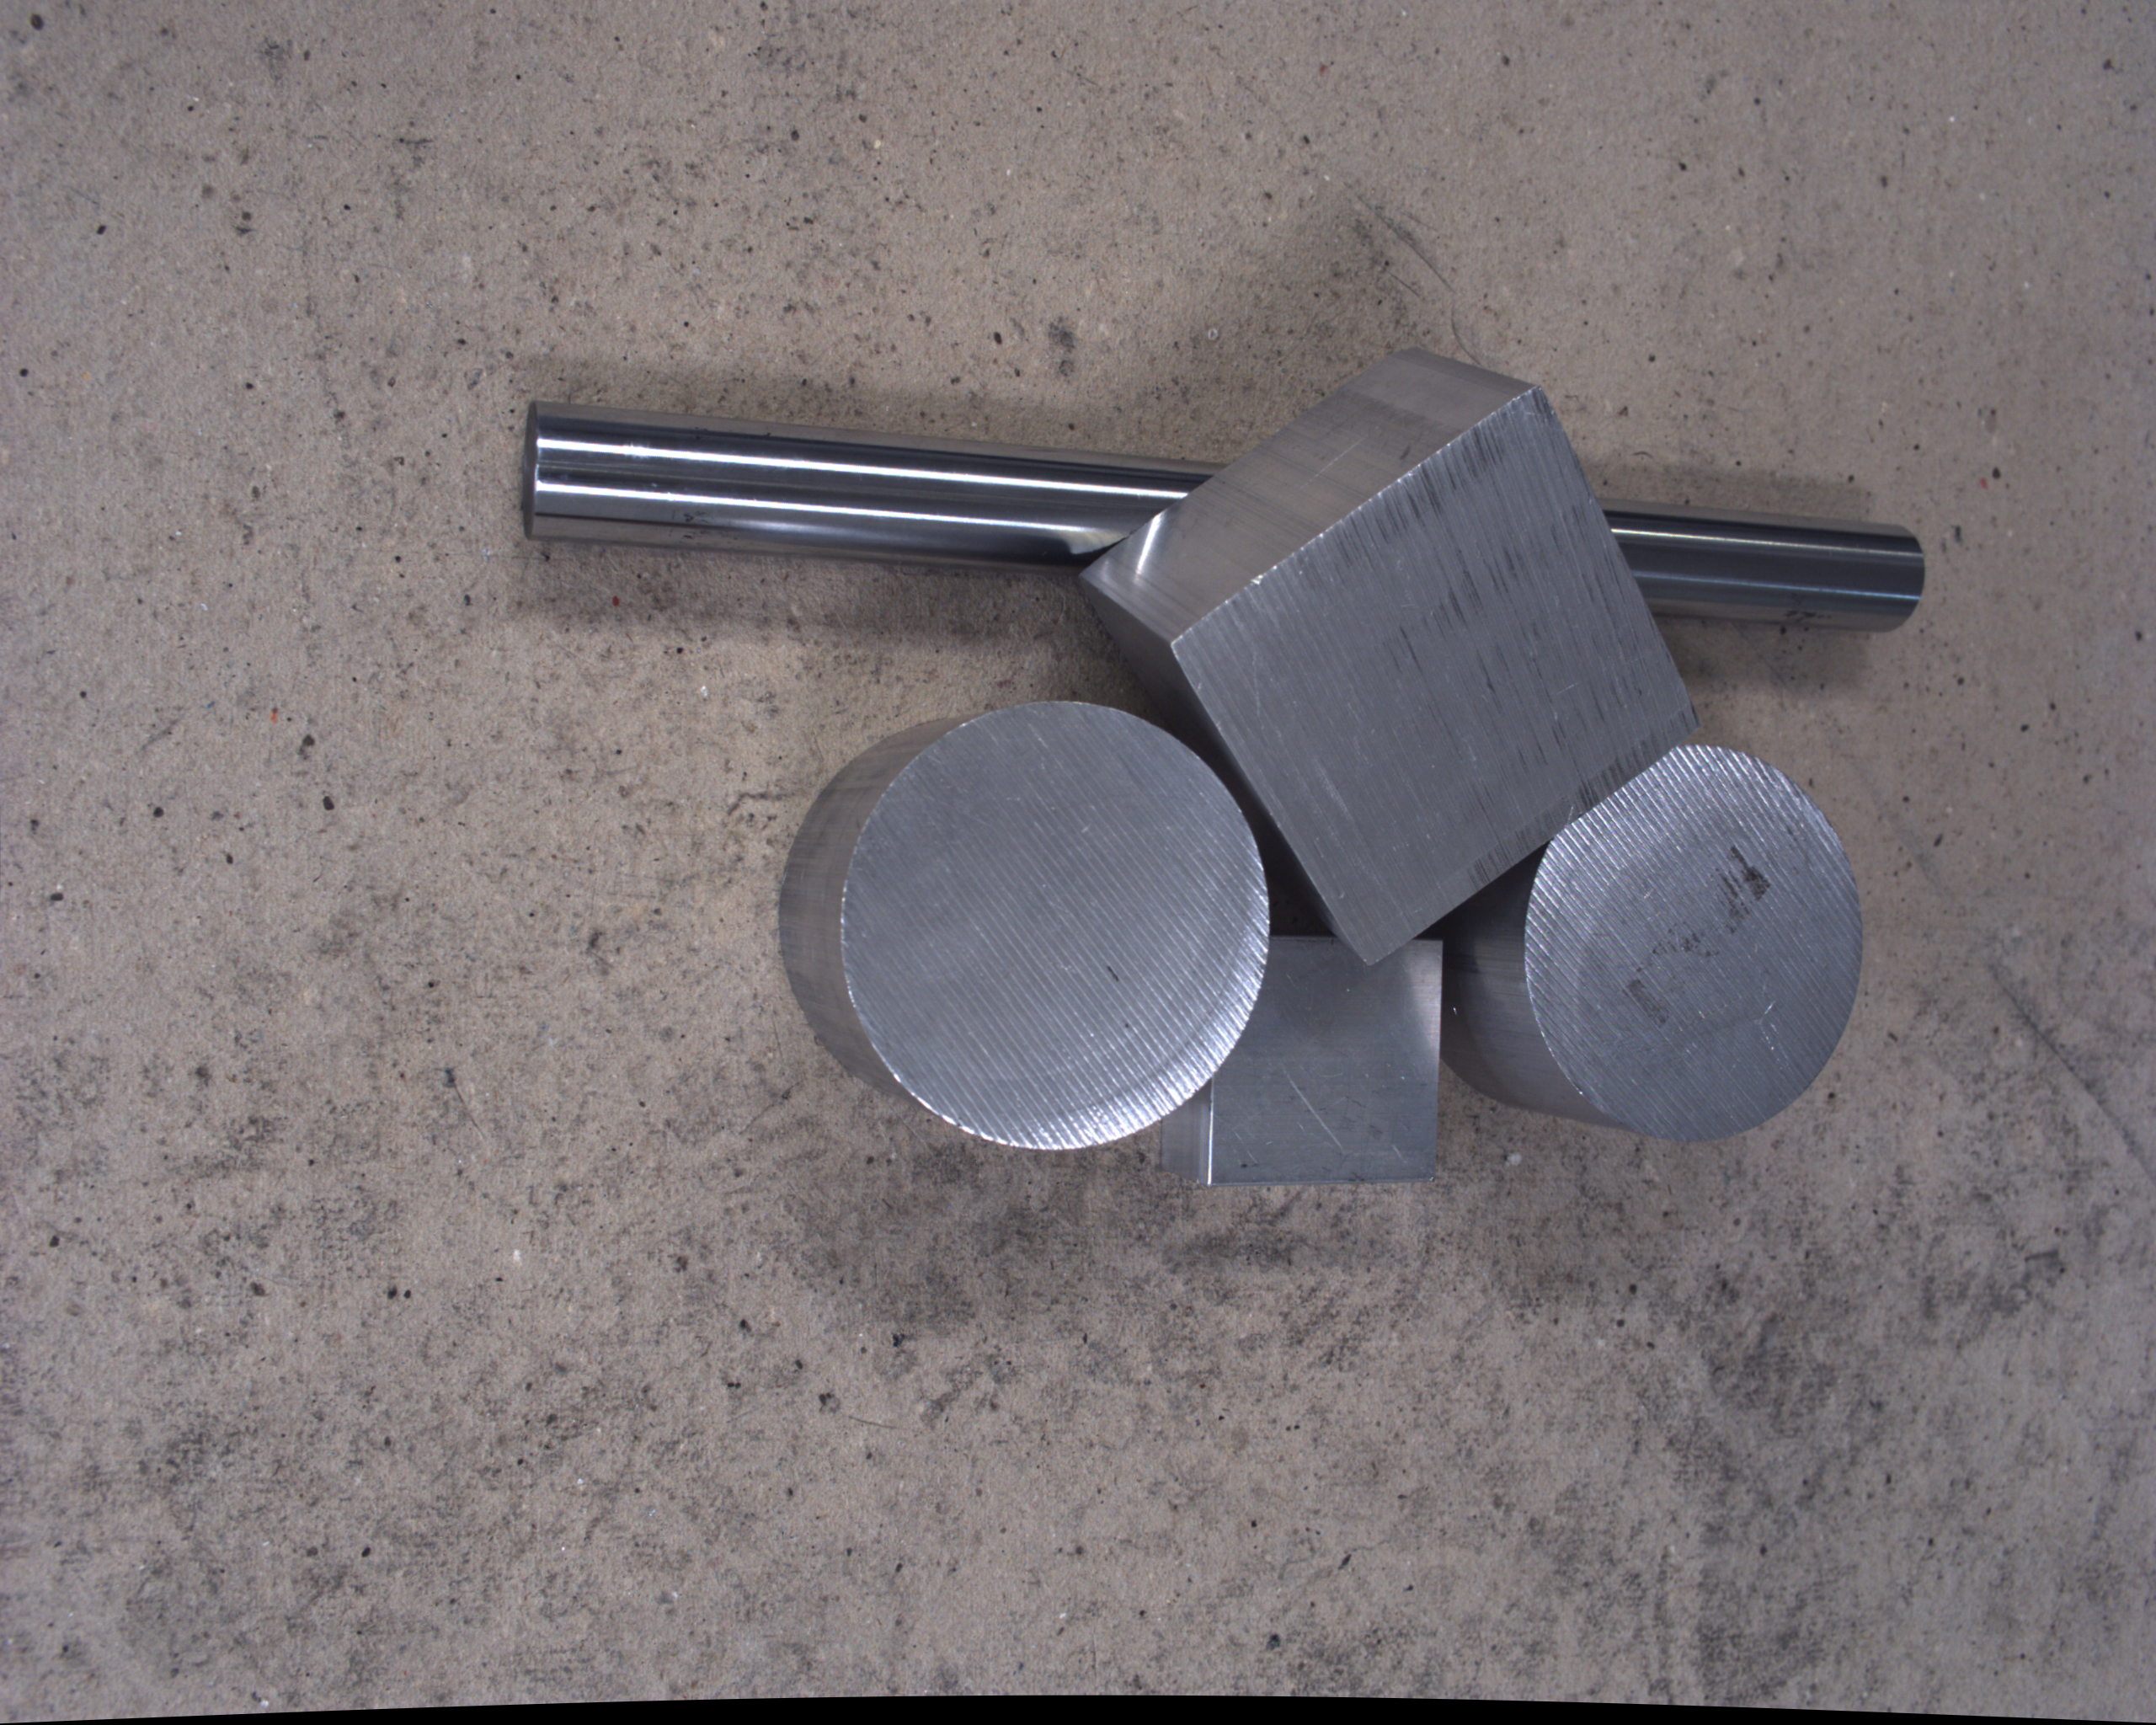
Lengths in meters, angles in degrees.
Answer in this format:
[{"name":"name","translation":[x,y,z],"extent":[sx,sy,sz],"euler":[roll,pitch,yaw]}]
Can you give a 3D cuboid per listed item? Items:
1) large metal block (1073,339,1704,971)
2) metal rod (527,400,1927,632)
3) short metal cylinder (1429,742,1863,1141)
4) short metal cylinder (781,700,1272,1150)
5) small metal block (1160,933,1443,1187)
[{"name":"large metal block","translation":[0.060,-0.041,0.400],"extent":[0.080,0.050,0.080],"euler":[-36,119,-3]},{"name":"metal rod","translation":[0.044,-0.068,0.426],"extent":[0.302,0.025,0.025],"euler":[1,90,-20]},{"name":"short metal cylinder","translation":[0.115,0.016,0.439],"extent":[0.081,0.050,0.079],"euler":[0,90,-20]},{"name":"short metal cylinder","translation":[-0.011,0.011,0.392],"extent":[0.081,0.050,0.079],"euler":[0,90,-20]},{"name":"small metal block","translation":[0.046,0.039,0.428],"extent":[0.050,0.025,0.050],"euler":[2,89,-20]}]
